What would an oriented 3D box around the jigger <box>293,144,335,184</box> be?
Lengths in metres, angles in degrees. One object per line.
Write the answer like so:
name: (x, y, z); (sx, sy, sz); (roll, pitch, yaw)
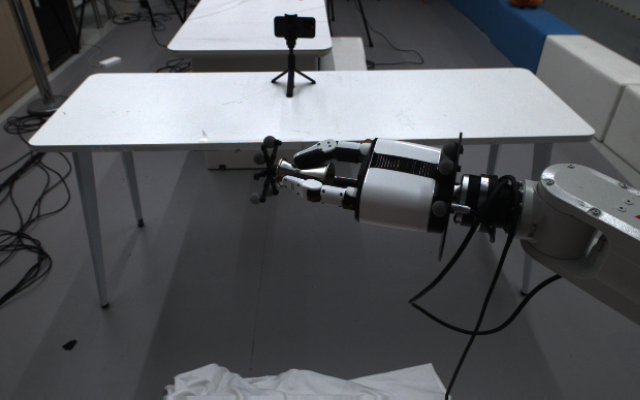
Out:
jigger: (-0.013, -0.035, 0.634); (0.071, 0.043, 0.043); (8, 35, 17)
